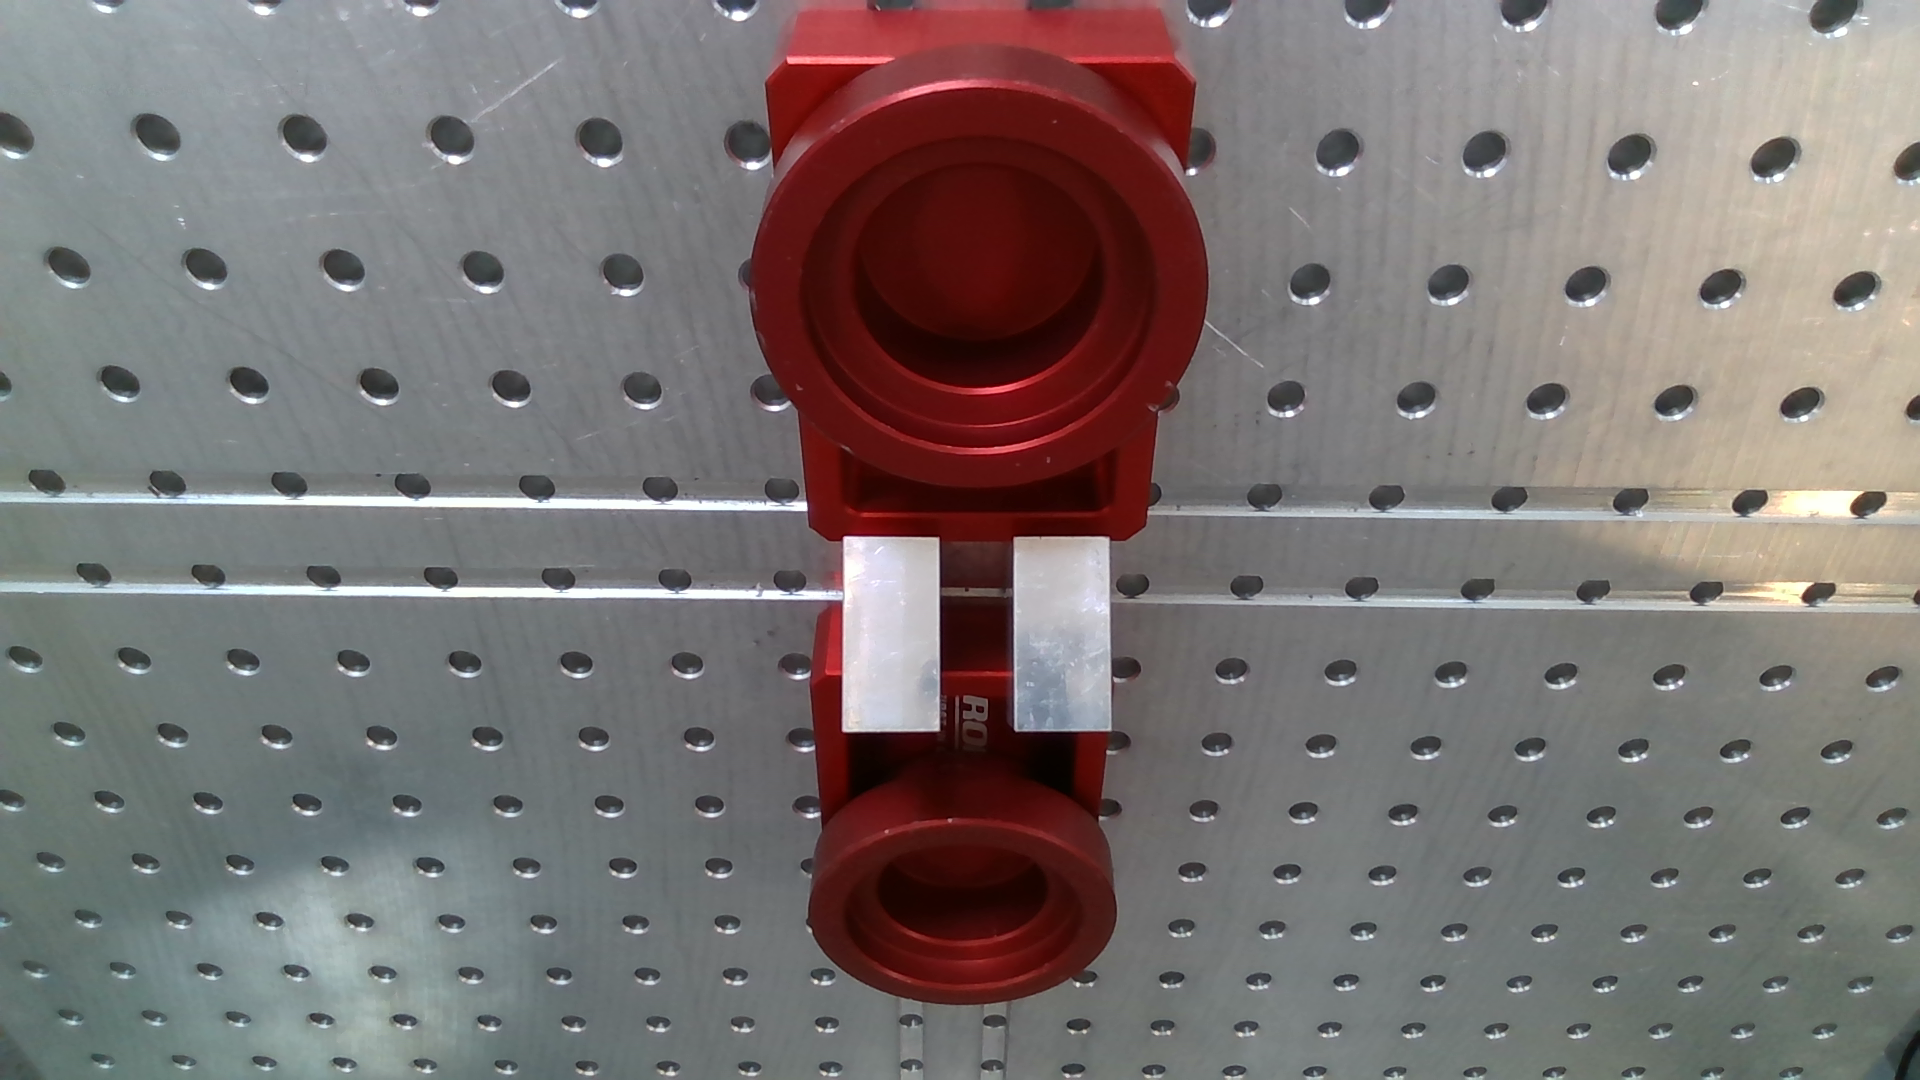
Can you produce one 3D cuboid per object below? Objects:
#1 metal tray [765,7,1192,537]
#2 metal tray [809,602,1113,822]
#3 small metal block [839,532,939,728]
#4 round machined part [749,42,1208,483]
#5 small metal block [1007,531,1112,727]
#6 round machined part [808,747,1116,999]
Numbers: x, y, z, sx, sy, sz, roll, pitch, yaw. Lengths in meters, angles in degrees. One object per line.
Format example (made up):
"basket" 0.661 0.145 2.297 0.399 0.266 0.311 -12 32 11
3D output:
"metal tray" 0.005 -0.060 0.339 0.090 0.030 0.130 1 130 2
"metal tray" 0.000 0.078 0.455 0.090 0.030 0.130 1 130 0
"small metal block" -0.018 0.025 0.377 0.025 0.050 0.050 1 86 0
"round machined part" 0.004 -0.064 0.311 0.098 0.042 0.098 0 130 0
"small metal block" 0.026 0.025 0.378 0.025 0.050 0.050 1 86 0
"round machined part" 0.001 0.106 0.454 0.098 0.042 0.098 0 130 0
